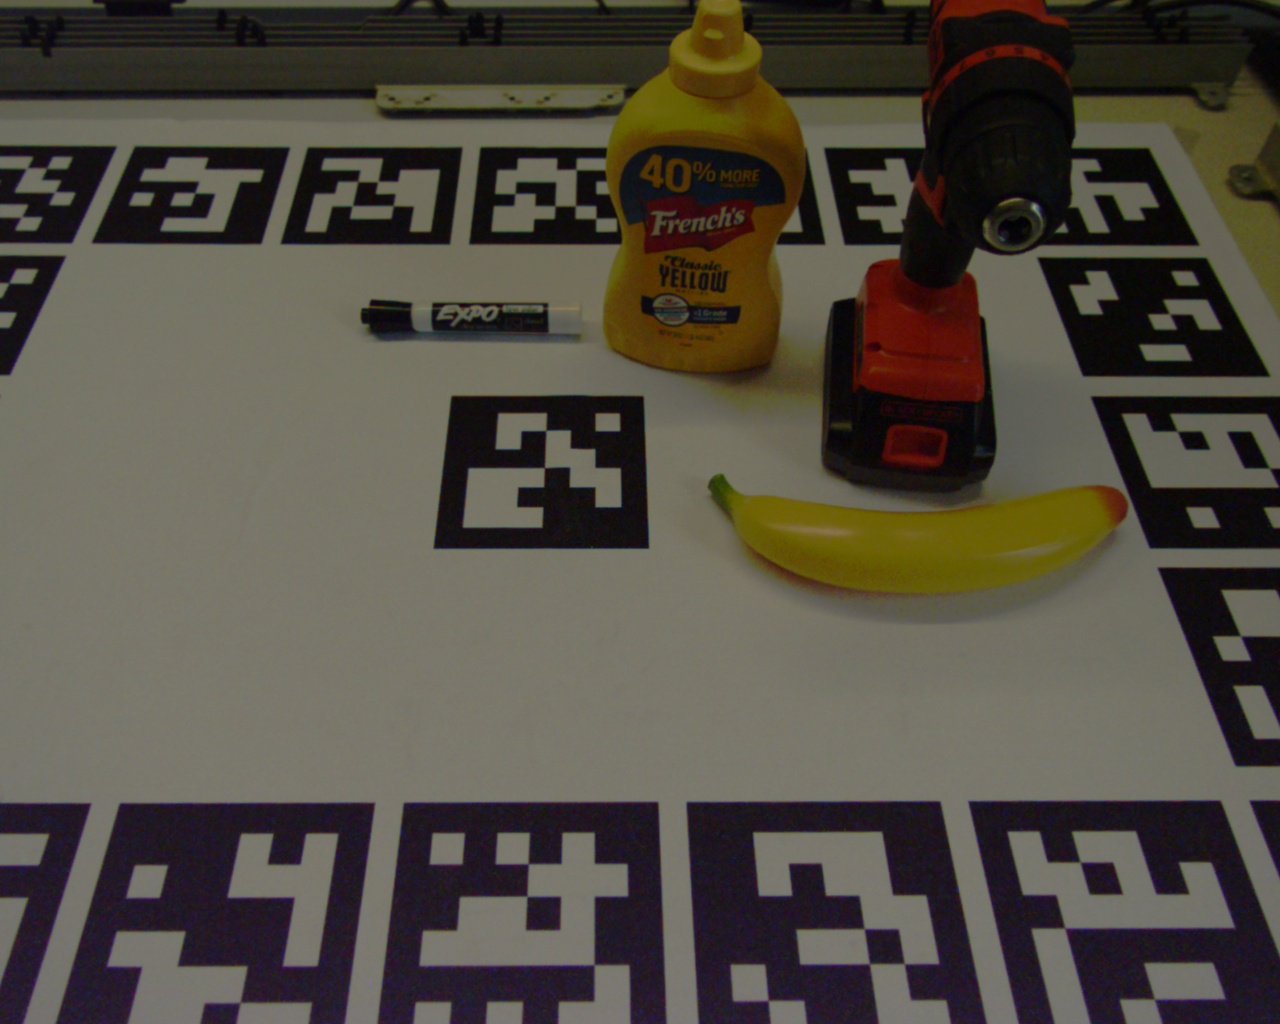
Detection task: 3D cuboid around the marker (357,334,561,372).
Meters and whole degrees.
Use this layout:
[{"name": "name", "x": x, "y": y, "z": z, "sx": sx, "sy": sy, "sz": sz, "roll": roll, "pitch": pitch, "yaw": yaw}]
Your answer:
[{"name": "marker", "x": -0.108, "y": -0.095, "z": 0.679, "sx": 0.121, "sy": 0.019, "sz": 0.020, "roll": 2, "pitch": 54, "yaw": 1}]

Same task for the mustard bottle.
[{"name": "mustard bottle", "x": 0.021, "y": -0.138, "z": 0.606, "sx": 0.096, "sy": 0.191, "sz": 0.058, "roll": 10, "pitch": 53, "yaw": 4}]

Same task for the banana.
[{"name": "banana", "x": 0.117, "y": 0.031, "z": 0.578, "sx": 0.198, "sy": 0.038, "sz": 0.074, "roll": 6, "pitch": 55, "yaw": 6}]

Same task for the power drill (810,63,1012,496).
[{"name": "power drill", "x": 0.129, "y": -0.096, "z": 0.554, "sx": 0.057, "sy": 0.186, "sz": 0.184, "roll": 12, "pitch": 51, "yaw": 5}]
